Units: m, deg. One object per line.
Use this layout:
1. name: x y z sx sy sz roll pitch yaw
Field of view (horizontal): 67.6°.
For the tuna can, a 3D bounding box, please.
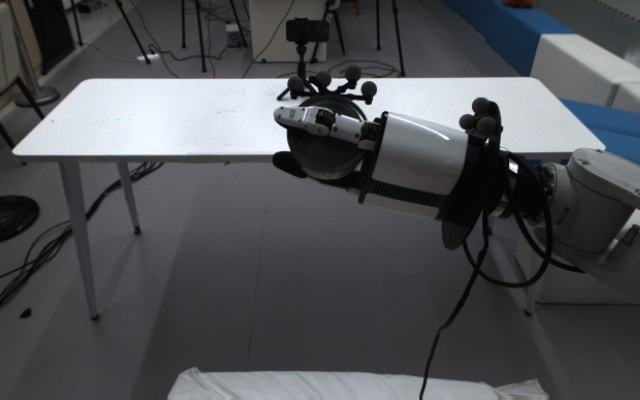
1. tuna can: 0.012 -0.061 0.510 0.085 0.034 0.085 0 78 0
